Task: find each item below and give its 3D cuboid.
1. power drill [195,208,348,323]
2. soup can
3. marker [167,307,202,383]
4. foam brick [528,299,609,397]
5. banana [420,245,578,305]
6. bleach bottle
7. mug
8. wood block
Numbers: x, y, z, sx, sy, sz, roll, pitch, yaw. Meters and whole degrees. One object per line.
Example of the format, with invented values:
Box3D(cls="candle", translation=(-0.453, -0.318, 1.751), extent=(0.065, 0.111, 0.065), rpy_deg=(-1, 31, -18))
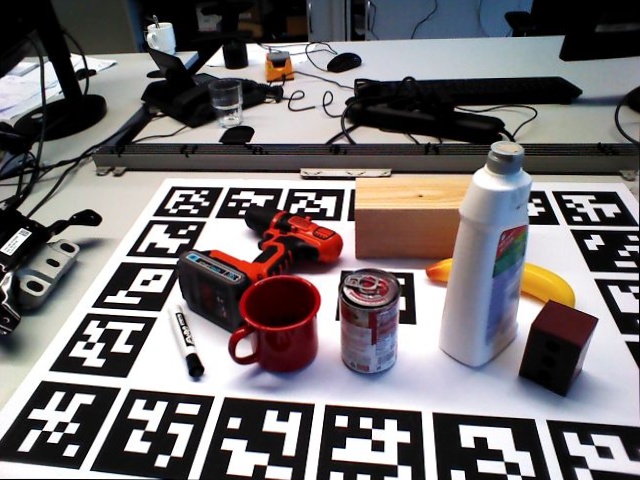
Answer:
Box3D(cls="power drill", translation=(-0.080, 0.027, 0.724), extent=(0.185, 0.057, 0.185), rpy_deg=(23, 42, 28))
Box3D(cls="soup can", translation=(0.056, 0.084, 0.570), extent=(0.068, 0.102, 0.067), rpy_deg=(-2, 32, 1))
Box3D(cls="marker", translation=(-0.164, 0.125, 0.624), extent=(0.019, 0.020, 0.121), rpy_deg=(-19, 38, -15))
Box3D(cls="foam brick", translation=(0.258, 0.112, 0.540), extent=(0.053, 0.078, 0.051), rpy_deg=(23, 42, 36))
Box3D(cls="banana", translation=(0.232, 0.037, 0.675), extent=(0.198, 0.039, 0.073), rpy_deg=(12, 52, 19))
Box3D(cls="bleach bottle", translation=(0.179, 0.013, 0.537), extent=(0.068, 0.251, 0.102), rpy_deg=(20, 41, 31))
Box3D(cls="mug", translation=(-0.051, 0.098, 0.590), extent=(0.116, 0.082, 0.093), rpy_deg=(-31, 45, -27))
Box3D(cls="wood block", translation=(0.161, -0.033, 0.745), extent=(0.207, 0.091, 0.089), rpy_deg=(0, 37, 7))
